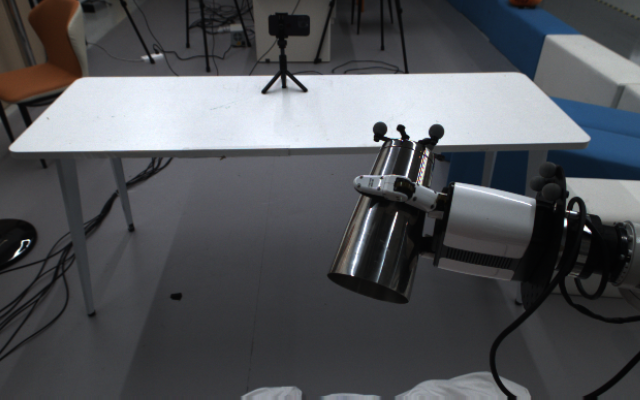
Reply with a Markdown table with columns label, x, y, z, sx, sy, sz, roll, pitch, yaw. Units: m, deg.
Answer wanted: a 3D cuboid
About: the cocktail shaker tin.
| label | x | y | z | sx | sy | sz | roll | pitch | yaw |
| --- | --- | --- | --- | --- | --- | --- | --- | --- | --- |
| cocktail shaker tin | 0.077 | 0.019 | 0.546 | 0.093 | 0.093 | 0.170 | 14 | 70 | 16 |
